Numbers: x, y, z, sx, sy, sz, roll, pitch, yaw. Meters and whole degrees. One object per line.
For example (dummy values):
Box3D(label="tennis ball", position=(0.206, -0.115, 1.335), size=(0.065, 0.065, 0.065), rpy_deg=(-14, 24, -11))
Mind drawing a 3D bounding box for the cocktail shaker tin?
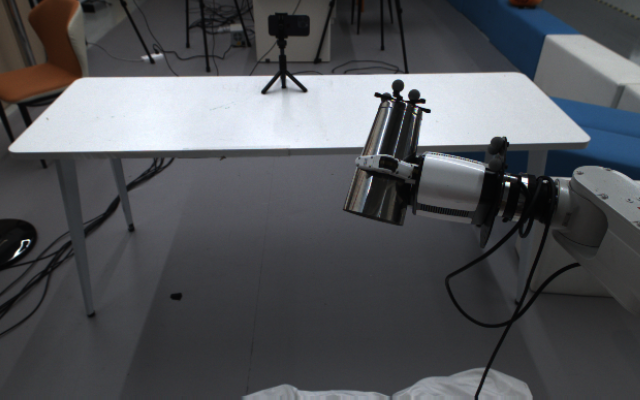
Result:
Box3D(label="cocktail shaker tin", position=(0.099, -0.056, 0.716), size=(0.093, 0.170, 0.093), rpy_deg=(16, -4, 1))
